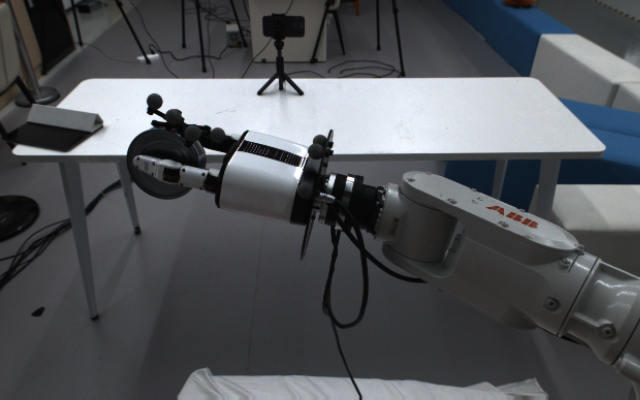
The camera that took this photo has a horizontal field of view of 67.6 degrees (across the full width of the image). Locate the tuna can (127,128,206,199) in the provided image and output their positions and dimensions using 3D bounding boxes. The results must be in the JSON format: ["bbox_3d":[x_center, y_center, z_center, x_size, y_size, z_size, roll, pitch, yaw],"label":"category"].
[{"bbox_3d":[-0.180,-0.045,0.576,0.085,0.085,0.034,4,20,3],"label":"tuna can"}]
